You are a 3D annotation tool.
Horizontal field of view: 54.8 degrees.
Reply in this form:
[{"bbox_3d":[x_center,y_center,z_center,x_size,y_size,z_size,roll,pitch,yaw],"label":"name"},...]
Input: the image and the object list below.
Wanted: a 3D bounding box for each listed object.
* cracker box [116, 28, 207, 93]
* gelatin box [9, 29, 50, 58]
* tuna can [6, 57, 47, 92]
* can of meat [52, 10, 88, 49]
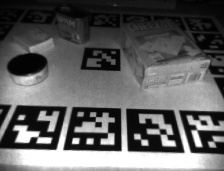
[{"bbox_3d":[0.121,-0.083,0.582,0.165,0.072,0.211,-9,44,-15],"label":"cracker box"},{"bbox_3d":[-0.233,-0.123,0.616,0.088,0.030,0.074,35,48,25],"label":"gelatin box"},{"bbox_3d":[-0.200,-0.027,0.511,0.086,0.034,0.085,2,47,-1],"label":"tuna can"},{"bbox_3d":[-0.120,-0.165,0.642,0.101,0.084,0.058,22,46,20],"label":"can of meat"}]
